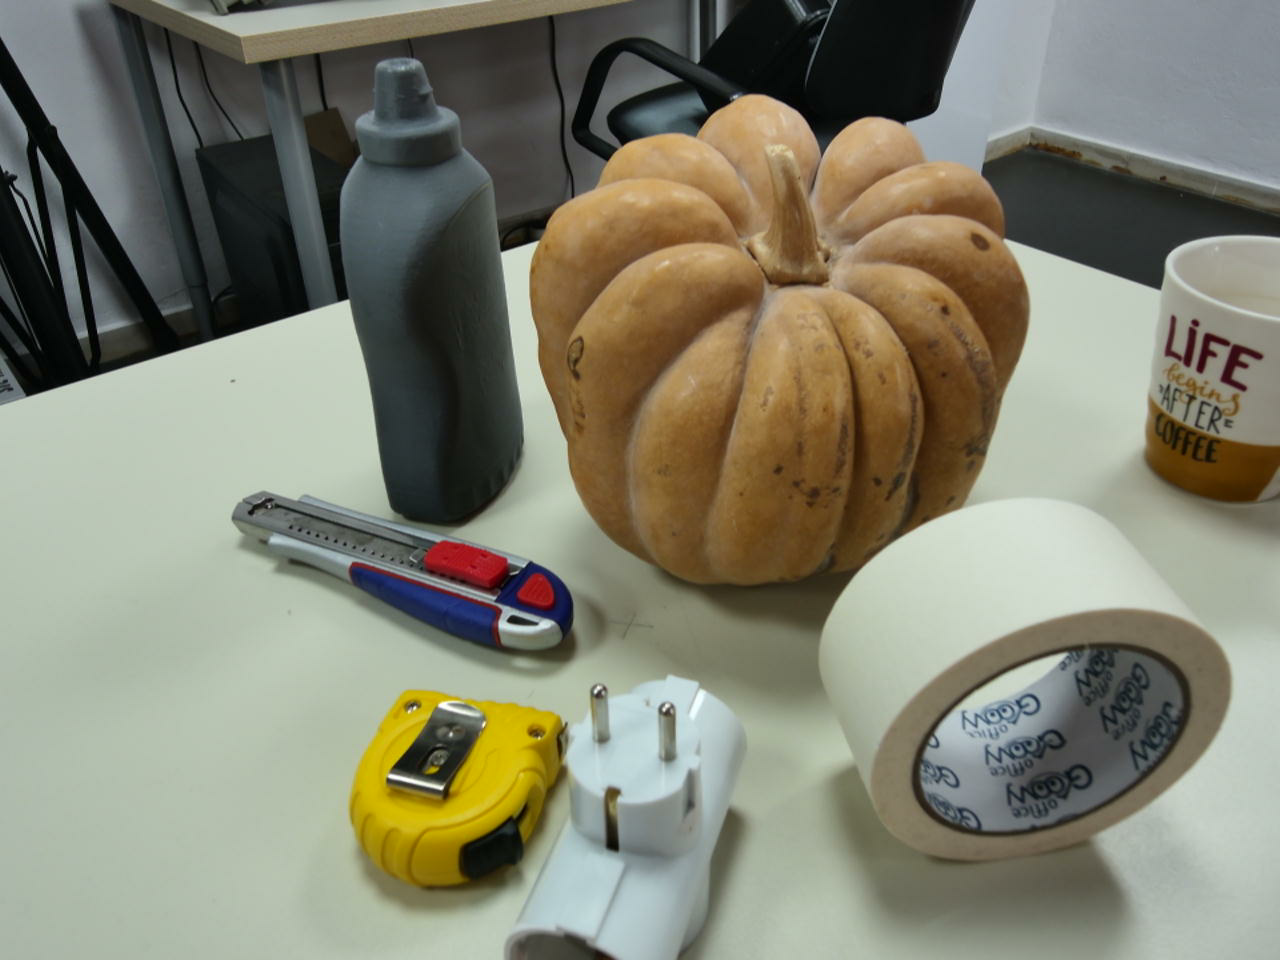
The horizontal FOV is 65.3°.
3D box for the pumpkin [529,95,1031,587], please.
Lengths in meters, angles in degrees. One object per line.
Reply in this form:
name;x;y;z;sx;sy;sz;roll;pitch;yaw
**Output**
pumpkin;0.053;-0.052;0.409;0.199;0.177;0.198;-1;35;1
